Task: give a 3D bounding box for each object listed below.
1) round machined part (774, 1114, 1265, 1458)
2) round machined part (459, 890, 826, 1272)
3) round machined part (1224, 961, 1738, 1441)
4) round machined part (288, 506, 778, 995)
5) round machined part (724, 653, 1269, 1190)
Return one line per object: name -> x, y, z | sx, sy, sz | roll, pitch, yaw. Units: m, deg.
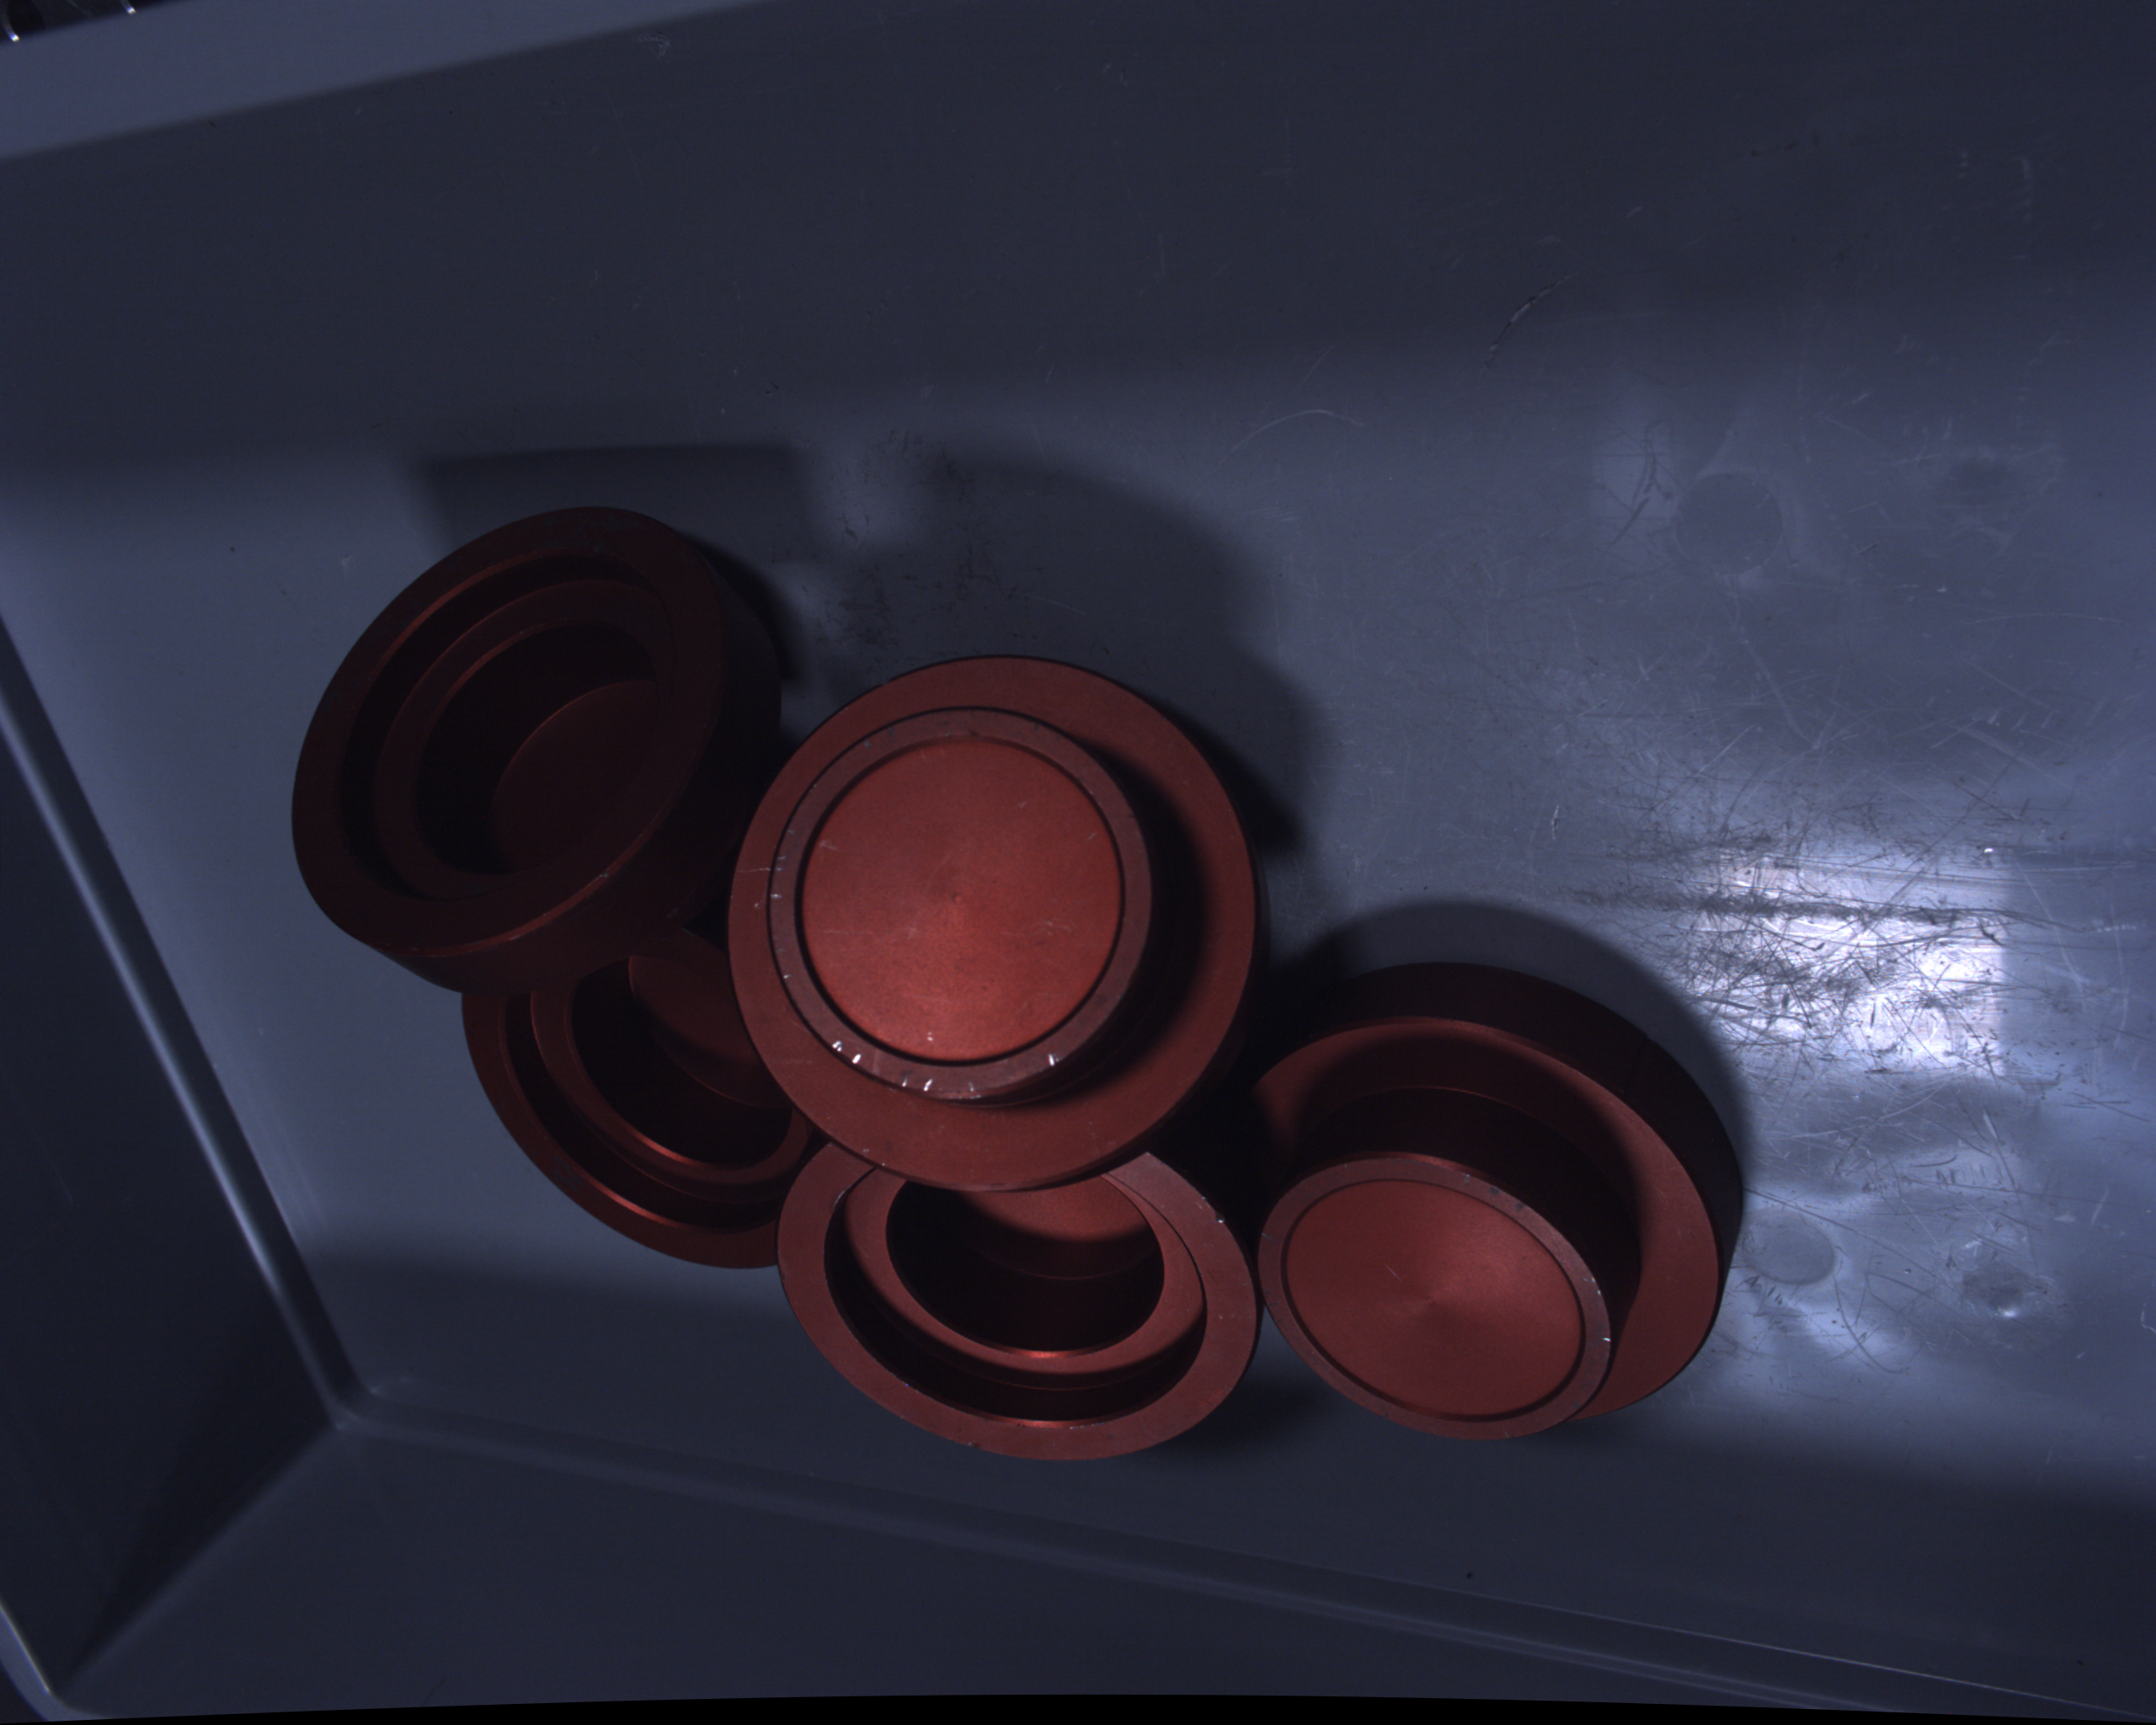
round machined part -> -0.009, 0.074, 0.429 | 0.099, 0.042, 0.097 | 6, 125, 8
round machined part -> -0.083, 0.039, 0.461 | 0.098, 0.042, 0.097 | 13, 124, 20
round machined part -> 0.073, 0.071, 0.400 | 0.098, 0.042, 0.097 | 13, 124, 20
round machined part -> -0.102, -0.019, 0.413 | 0.098, 0.098, 0.042 | 3, 155, 26
round machined part -> -0.017, 0.009, 0.373 | 0.098, 0.042, 0.097 | -2, 79, 10
